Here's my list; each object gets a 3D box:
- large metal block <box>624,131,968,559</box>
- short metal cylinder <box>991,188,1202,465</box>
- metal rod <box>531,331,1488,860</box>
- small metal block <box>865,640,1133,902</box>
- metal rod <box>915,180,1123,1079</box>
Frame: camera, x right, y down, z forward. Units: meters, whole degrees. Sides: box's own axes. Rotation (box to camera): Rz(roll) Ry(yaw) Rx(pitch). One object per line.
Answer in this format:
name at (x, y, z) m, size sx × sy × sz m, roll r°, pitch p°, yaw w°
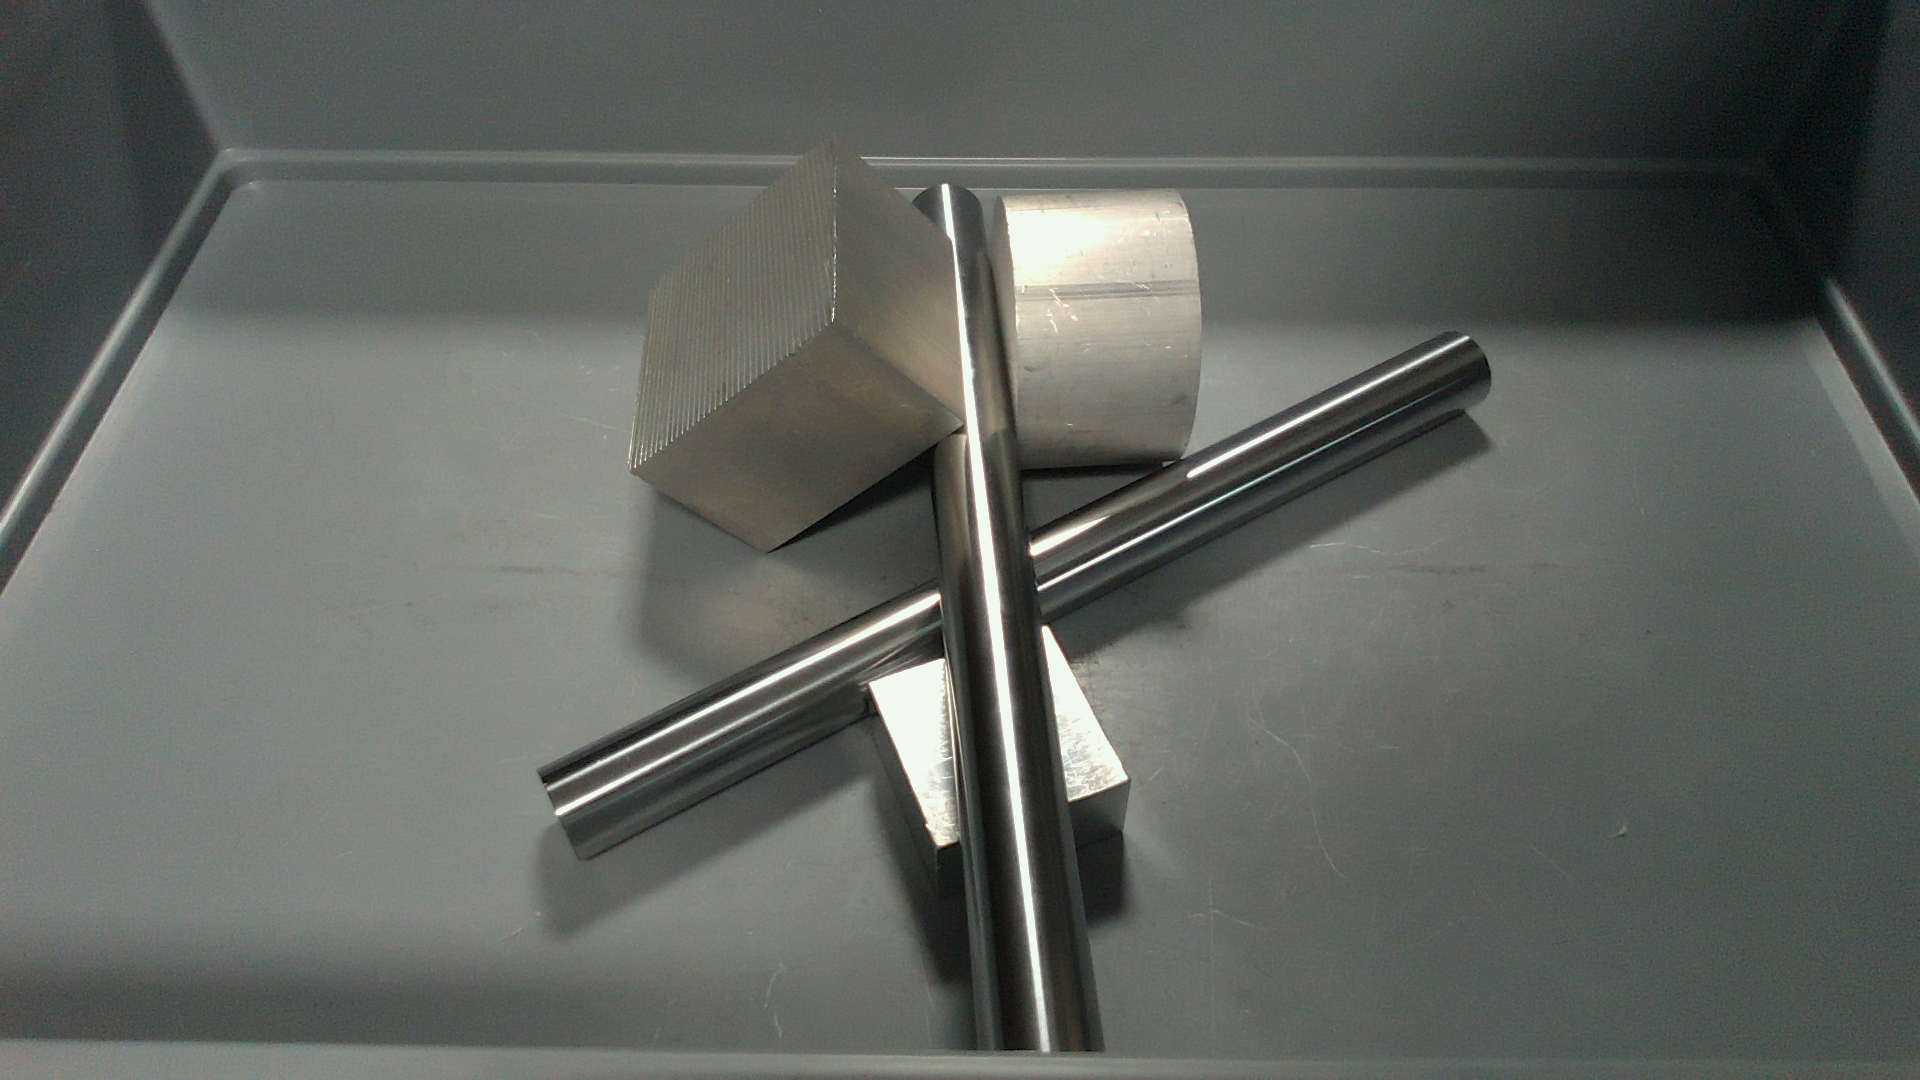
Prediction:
large metal block at (-0.047, -0.055, 0.395) m, size 0.080 × 0.050 × 0.080 m, roll -31°, pitch 43°, yaw 28°
short metal cylinder at (0.037, -0.063, 0.406) m, size 0.050 × 0.080 × 0.080 m, roll -3°, pitch 50°, yaw -4°
metal rod at (0.029, 0.006, 0.384) m, size 0.301 × 0.025 × 0.025 m, roll -25°, pitch 54°, yaw -20°
small metal block at (0.009, 0.055, 0.344) m, size 0.050 × 0.025 × 0.050 m, roll -17°, pitch 52°, yaw -13°
metal rod at (0.008, 0.005, 0.352) m, size 0.025 × 0.025 × 0.300 m, roll -4°, pitch 49°, yaw -3°
